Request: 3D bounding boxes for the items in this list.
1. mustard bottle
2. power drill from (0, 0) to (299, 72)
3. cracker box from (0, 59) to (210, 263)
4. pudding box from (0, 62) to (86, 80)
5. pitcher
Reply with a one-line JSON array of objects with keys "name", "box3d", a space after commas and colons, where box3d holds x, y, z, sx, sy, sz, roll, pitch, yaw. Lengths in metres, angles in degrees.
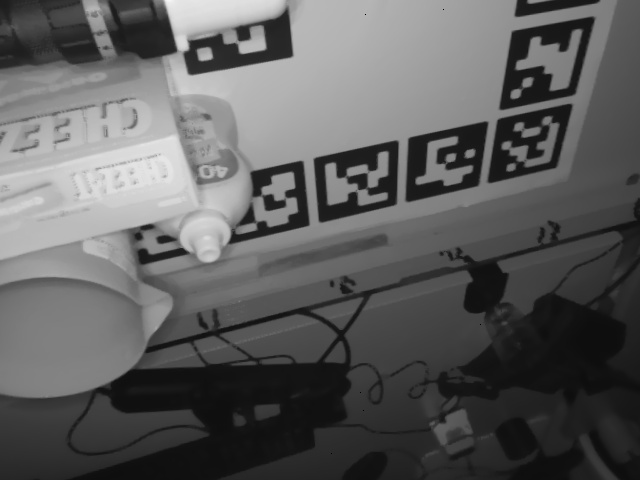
[{"name": "mustard bottle", "box3d": [-0.100, -0.041, 0.604, 0.097, 0.192, 0.058, -2, 130, -19]}, {"name": "power drill", "box3d": [-0.120, -0.177, 0.442, 0.186, 0.187, 0.057, -12, 137, -9]}, {"name": "cracker box", "box3d": [-0.186, -0.093, 0.515, 0.165, 0.214, 0.071, -15, 136, -11]}, {"name": "pudding box", "box3d": [-0.195, -0.165, 0.521, 0.115, 0.090, 0.038, -13, 136, -13]}, {"name": "pitcher", "box3d": [-0.226, -0.006, 0.571, 0.191, 0.243, 0.132, -9, 133, -16]}]
